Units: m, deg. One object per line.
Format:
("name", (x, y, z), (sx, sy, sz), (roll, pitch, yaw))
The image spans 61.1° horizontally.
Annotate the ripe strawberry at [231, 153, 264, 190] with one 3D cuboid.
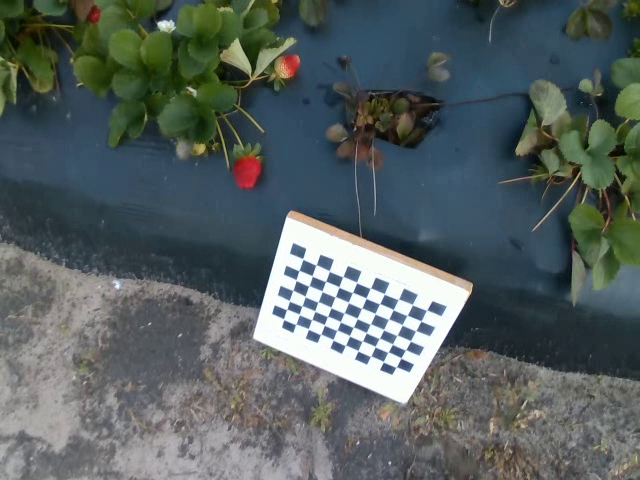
("ripe strawberry", (-0.104, -0.094, 0.754), (0.045, 0.055, 0.042), (-22, -41, 33))
